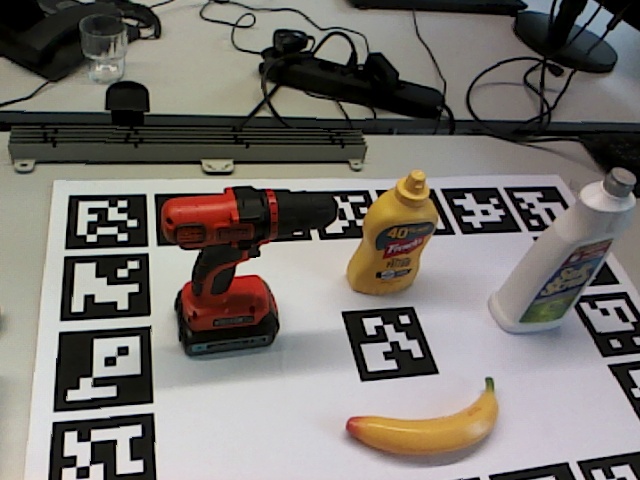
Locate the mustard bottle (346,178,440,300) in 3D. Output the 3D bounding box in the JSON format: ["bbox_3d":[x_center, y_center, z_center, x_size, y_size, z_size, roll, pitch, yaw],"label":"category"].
[{"bbox_3d":[0.100,-0.003,0.784,0.096,0.191,0.059,-7,50,-22],"label":"mustard bottle"}]

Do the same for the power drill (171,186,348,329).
[{"bbox_3d":[-0.067,0.018,0.683,0.184,0.186,0.057,-9,51,-16],"label":"power drill"}]

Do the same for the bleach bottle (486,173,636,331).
[{"bbox_3d":[0.302,0.018,0.769,0.102,0.250,0.068,5,47,-10],"label":"bleach bottle"}]

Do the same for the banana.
[{"bbox_3d":[0.128,0.200,0.693,0.196,0.039,0.074,-8,52,-16],"label":"banana"}]
